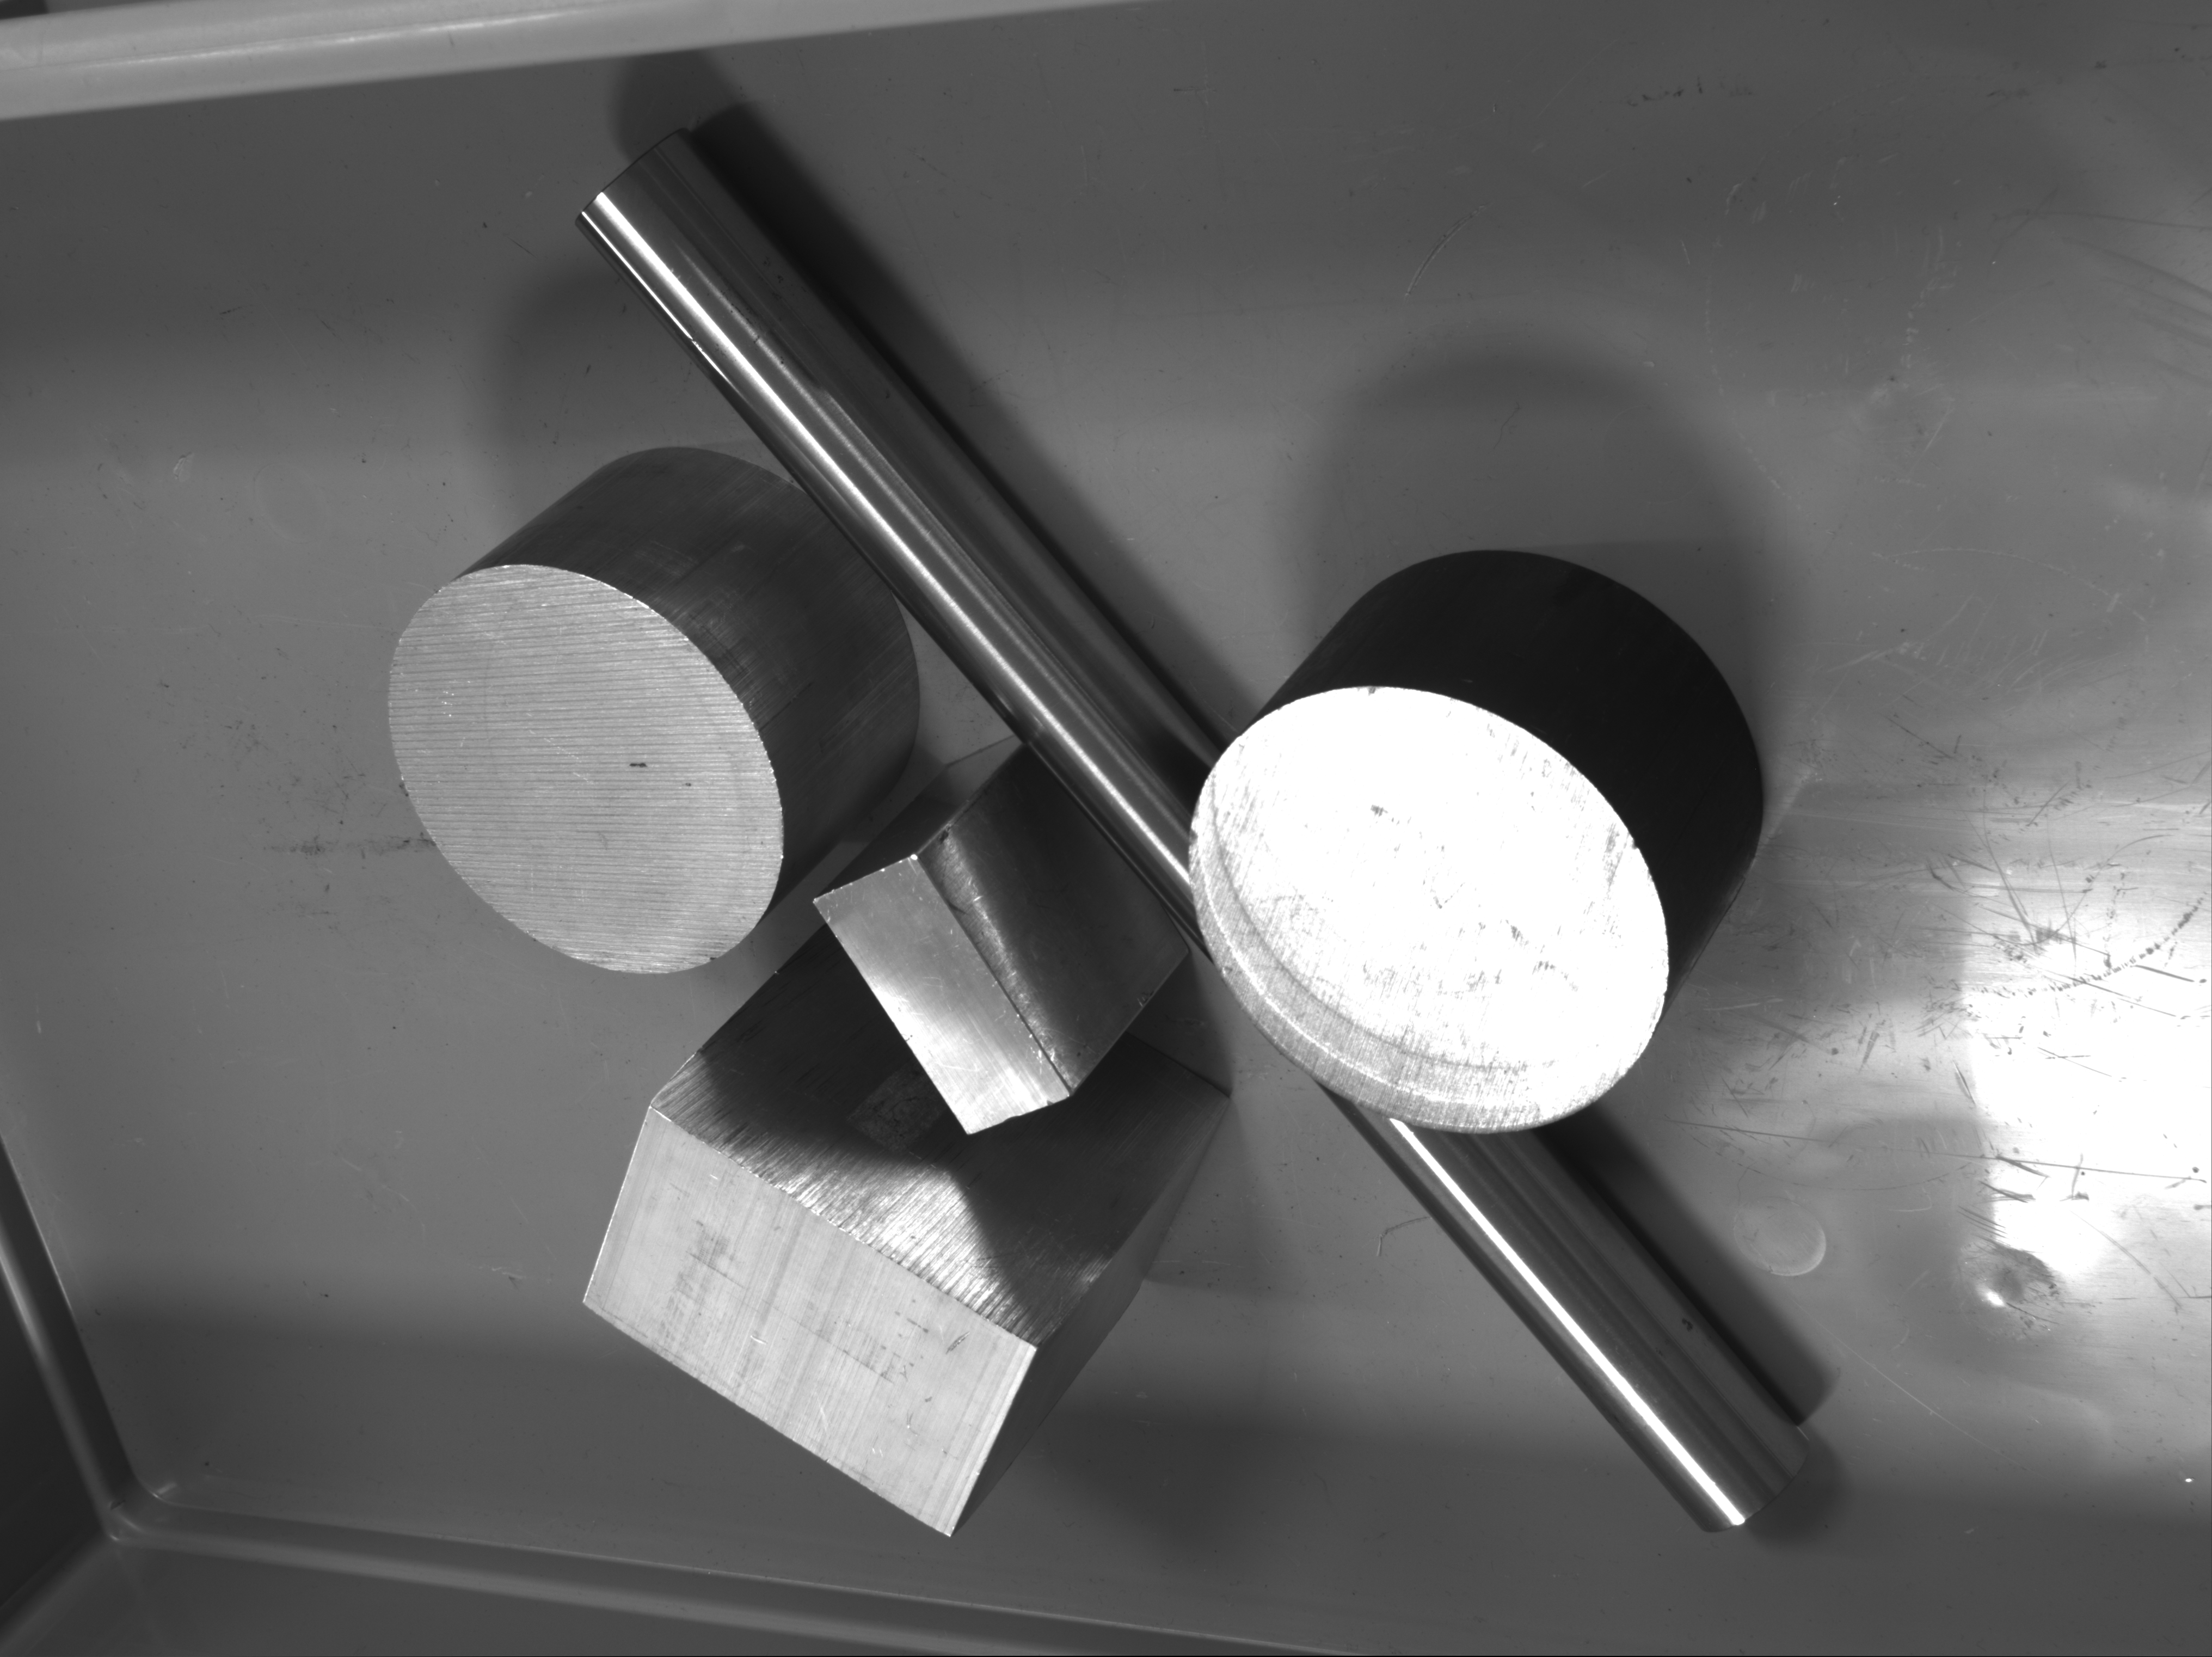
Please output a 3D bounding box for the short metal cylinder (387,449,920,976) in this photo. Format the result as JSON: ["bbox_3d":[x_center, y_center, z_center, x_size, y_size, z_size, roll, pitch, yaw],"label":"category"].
[{"bbox_3d":[-0.080,-0.021,0.655,0.080,0.050,0.080,13,124,21],"label":"short metal cylinder"}]

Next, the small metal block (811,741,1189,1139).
[{"bbox_3d":[-0.017,0.018,0.645,0.025,0.050,0.050,-23,106,36],"label":"small metal block"}]

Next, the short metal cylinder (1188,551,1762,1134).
[{"bbox_3d":[0.060,0.002,0.594,0.080,0.050,0.080,13,124,21],"label":"short metal cylinder"}]

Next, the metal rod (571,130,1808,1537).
[{"bbox_3d":[0.017,0.004,0.634,0.300,0.025,0.025,49,129,-6],"label":"metal rod"}]

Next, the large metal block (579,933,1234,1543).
[{"bbox_3d":[-0.035,0.068,0.665,0.080,0.080,0.050,30,129,10],"label":"large metal block"}]
